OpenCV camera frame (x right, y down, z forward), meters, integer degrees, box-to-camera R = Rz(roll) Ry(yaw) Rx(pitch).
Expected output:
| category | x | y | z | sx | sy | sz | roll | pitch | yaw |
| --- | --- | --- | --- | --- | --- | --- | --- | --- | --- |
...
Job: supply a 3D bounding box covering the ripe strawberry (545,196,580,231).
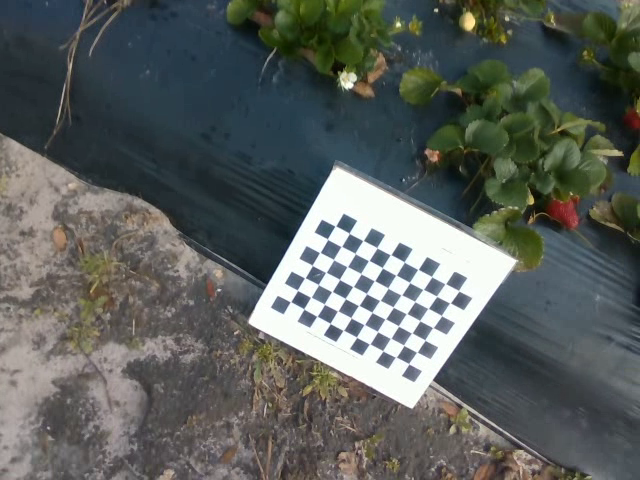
| category | x | y | z | sx | sy | sz | roll | pitch | yaw |
| --- | --- | --- | --- | --- | --- | --- | --- | --- | --- |
| ripe strawberry | 0.332 | -0.035 | 0.685 | 0.050 | 0.064 | 0.043 | -28 | 10 | 12 |
